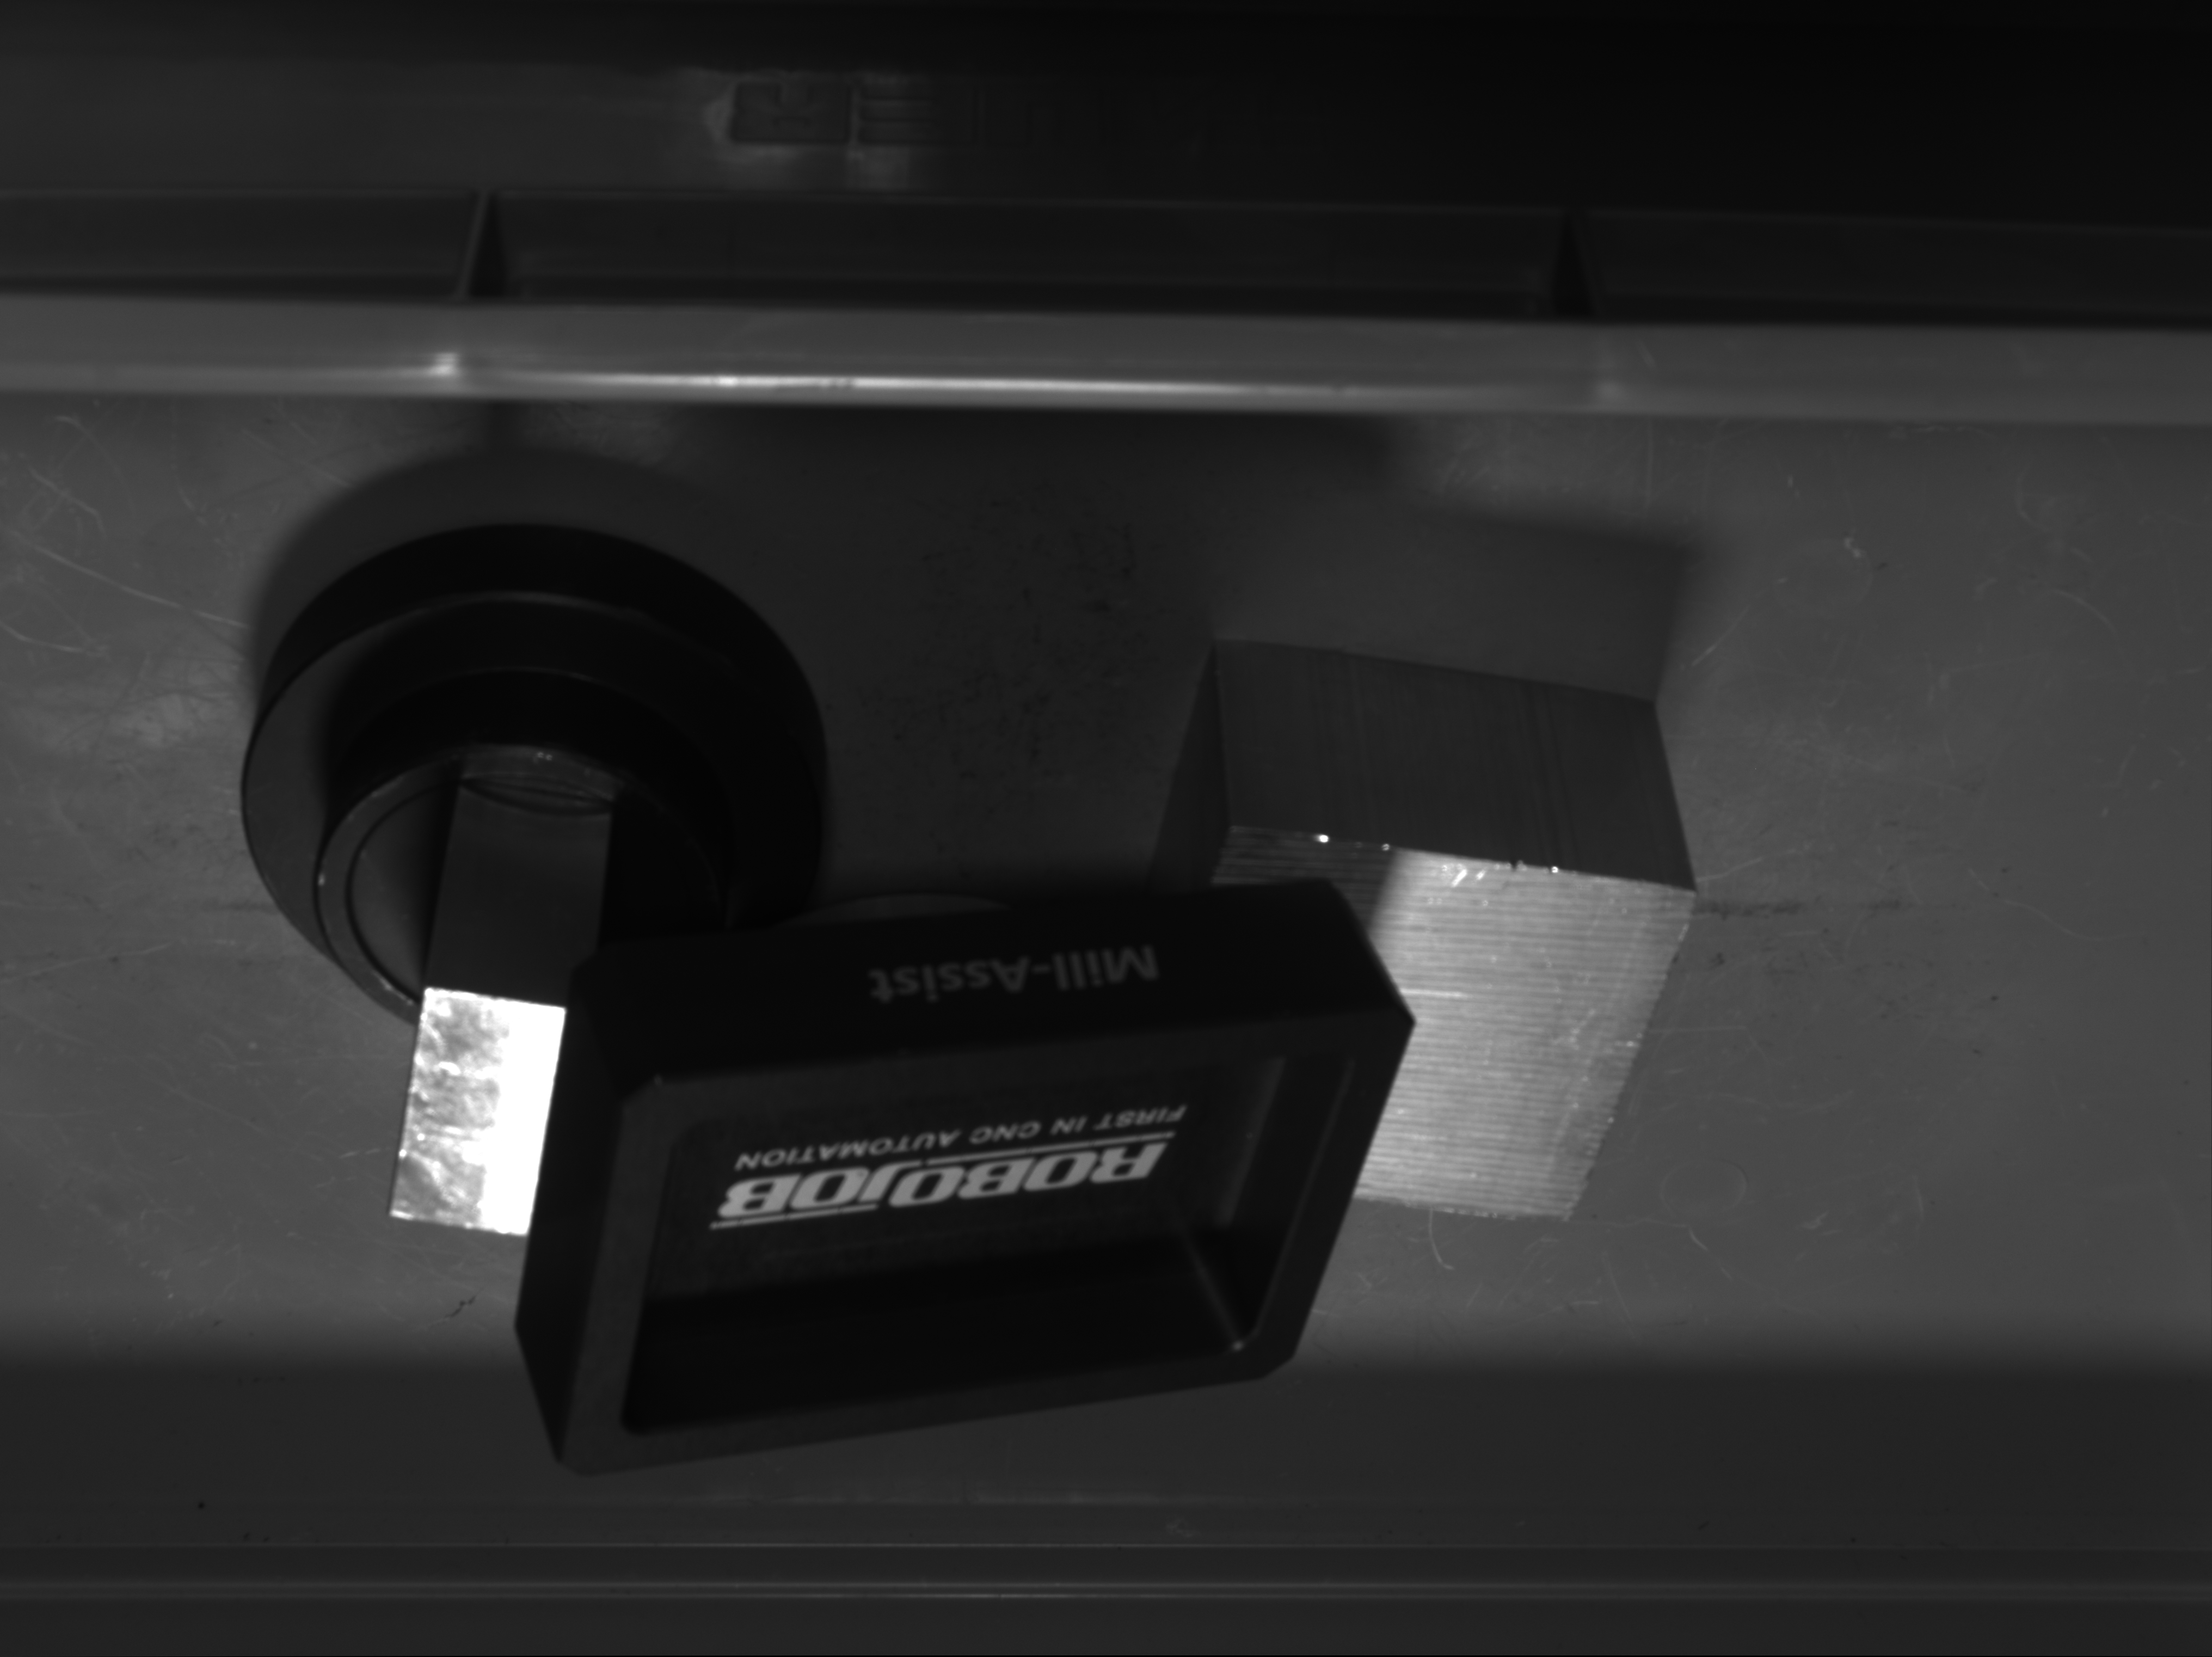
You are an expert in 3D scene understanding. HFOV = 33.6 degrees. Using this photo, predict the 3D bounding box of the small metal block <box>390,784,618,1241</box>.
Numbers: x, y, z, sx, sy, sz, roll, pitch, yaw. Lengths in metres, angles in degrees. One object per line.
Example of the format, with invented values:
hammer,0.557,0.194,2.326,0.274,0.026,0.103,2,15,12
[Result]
small metal block,-0.096,0.030,0.587,0.025,0.050,0.050,10,129,-9

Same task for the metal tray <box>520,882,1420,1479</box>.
metal tray,-0.023,0.056,0.588,0.130,0.030,0.090,-5,133,-23

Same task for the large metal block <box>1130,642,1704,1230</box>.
large metal block,0.050,0.020,0.637,0.080,0.050,0.080,8,129,-8

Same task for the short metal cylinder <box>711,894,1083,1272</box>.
short metal cylinder,-0.037,0.056,0.651,0.080,0.050,0.080,-10,144,-7

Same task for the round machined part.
round machined part,-0.097,0.000,0.622,0.098,0.042,0.098,-1,130,-1
